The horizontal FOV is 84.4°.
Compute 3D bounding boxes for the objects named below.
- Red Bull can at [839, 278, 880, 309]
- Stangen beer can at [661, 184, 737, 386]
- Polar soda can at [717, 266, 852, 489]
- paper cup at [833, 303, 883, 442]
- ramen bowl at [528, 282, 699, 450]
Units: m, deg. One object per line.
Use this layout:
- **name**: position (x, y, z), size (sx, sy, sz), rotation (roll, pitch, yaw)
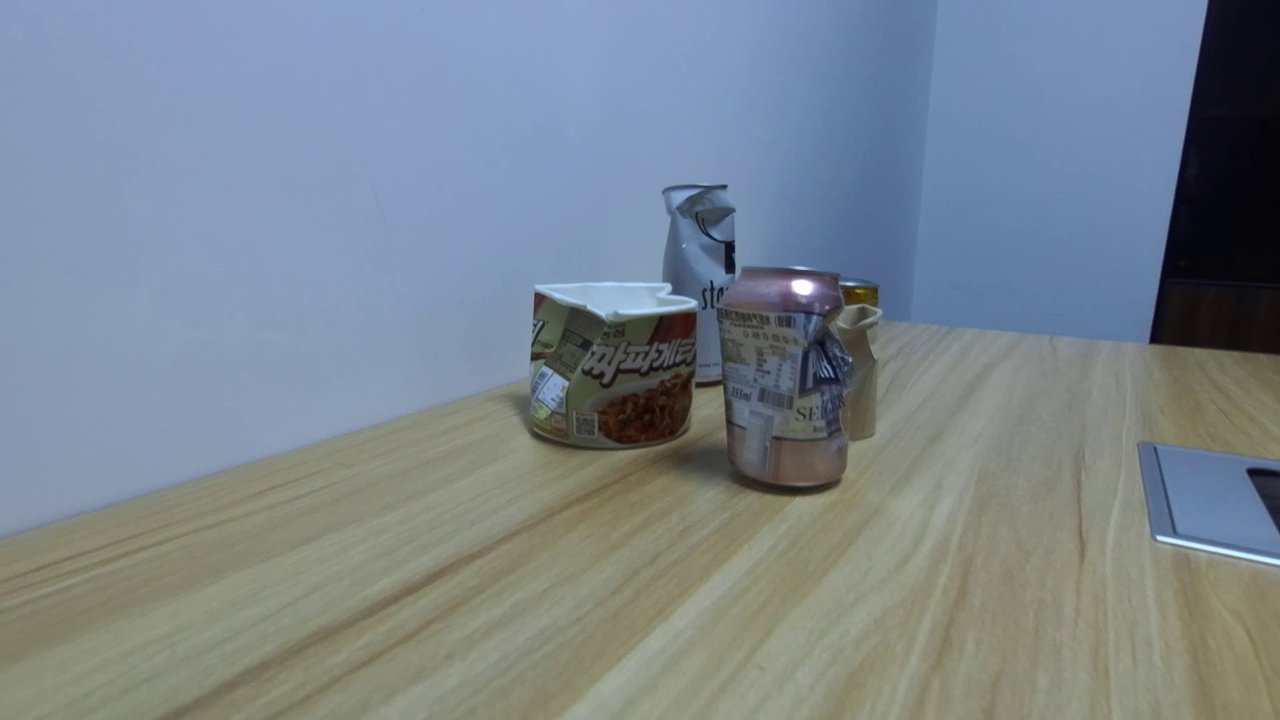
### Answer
- **Red Bull can**: position (0.157, -0.021, 0.580), size (0.072, 0.092, 0.072), rotation (7, 14, -1)
- **Stangen beer can**: position (0.048, -0.059, 0.590), size (0.066, 0.165, 0.066), rotation (-3, 4, -17)
- **Polar soda can**: position (0.084, 0.008, 0.398), size (0.071, 0.121, 0.066), rotation (-9, 11, -44)
- **paper cup**: position (0.130, 0.008, 0.477), size (0.058, 0.083, 0.066), rotation (0, 10, 2)
- **ramen bowl**: position (-0.019, 0.001, 0.477), size (0.112, 0.093, 0.128), rotation (-1, 14, -8)
